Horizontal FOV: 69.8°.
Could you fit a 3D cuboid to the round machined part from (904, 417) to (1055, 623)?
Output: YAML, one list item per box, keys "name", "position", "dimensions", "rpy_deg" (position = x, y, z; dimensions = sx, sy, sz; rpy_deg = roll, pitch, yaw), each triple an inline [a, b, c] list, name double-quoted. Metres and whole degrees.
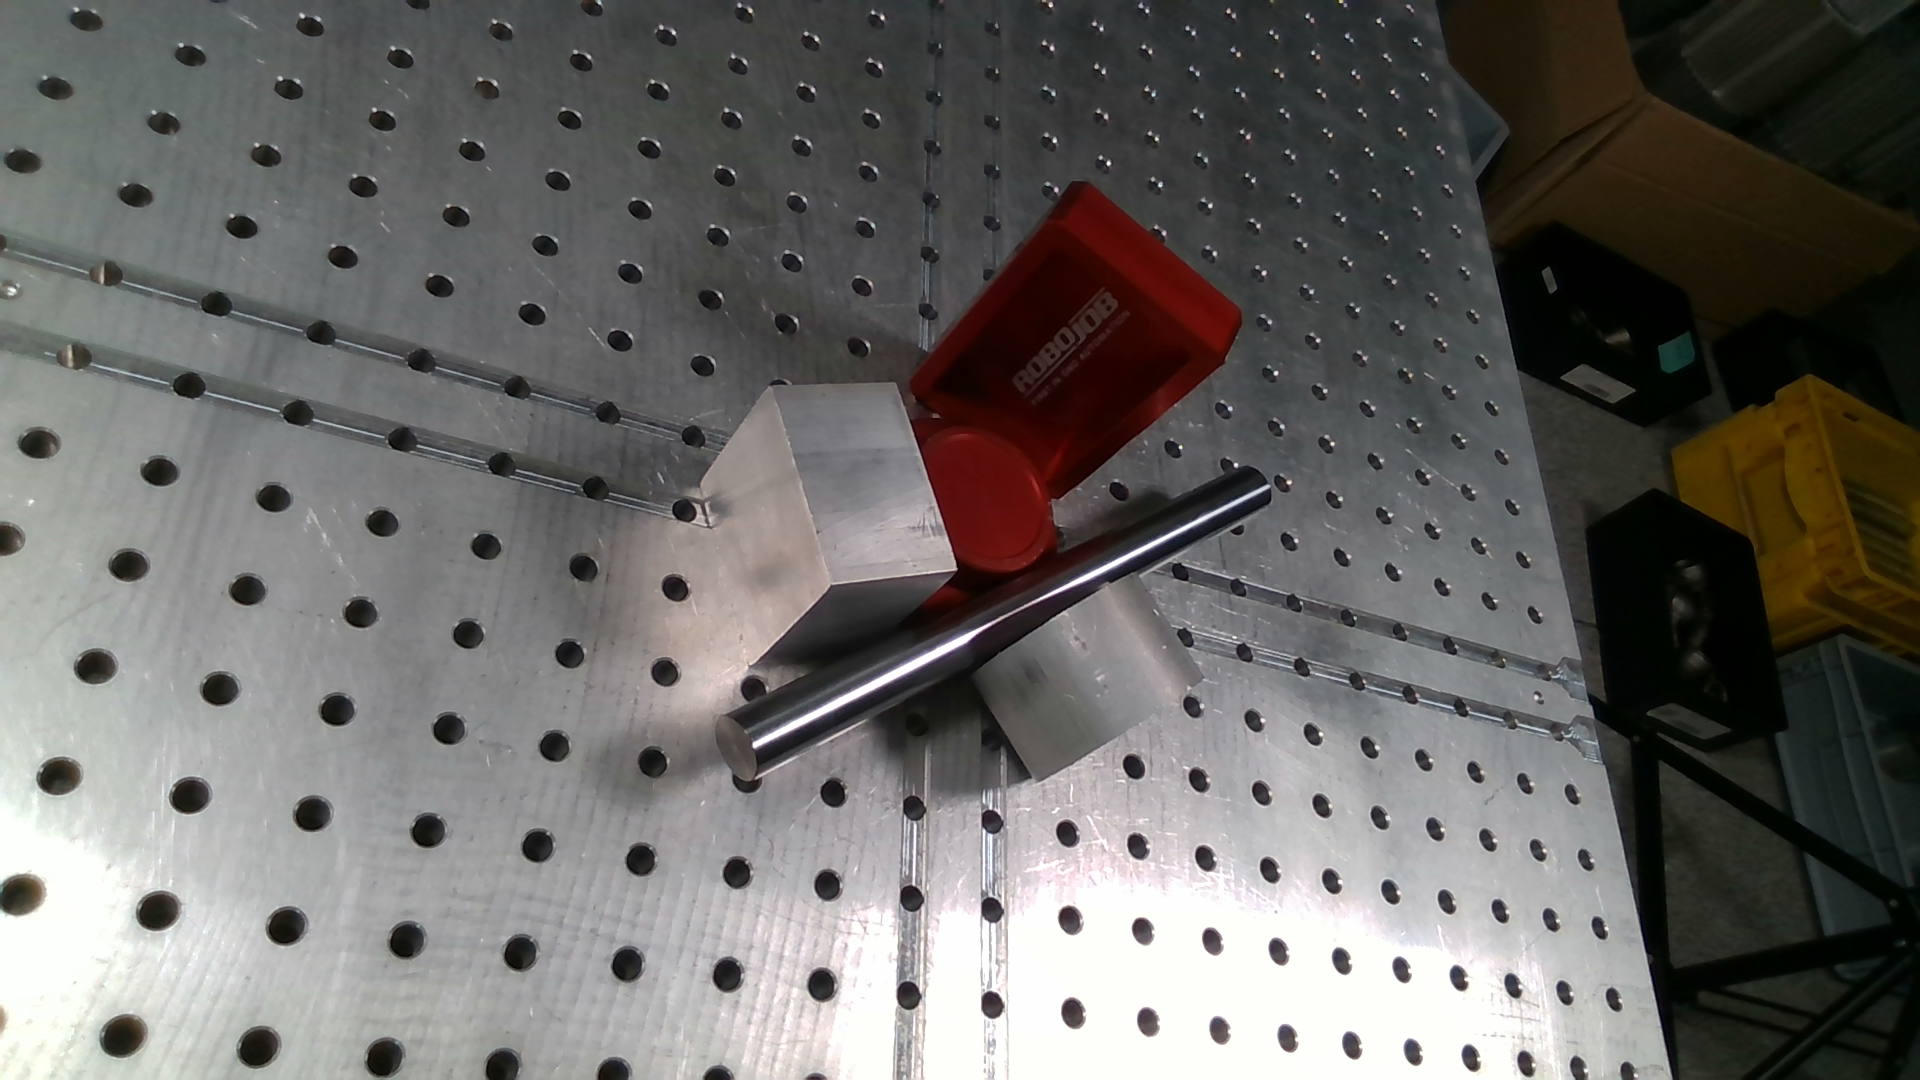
- name: "round machined part"
  position: [-0.001, -0.010, 0.583]
  dimensions: [0.098, 0.042, 0.098]
  rpy_deg: [14, 59, -25]

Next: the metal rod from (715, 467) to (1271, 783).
- name: "metal rod"
  position: [0.031, 0.025, 0.568]
  dimensions: [0.300, 0.025, 0.025]
  rpy_deg: [-24, 79, -38]

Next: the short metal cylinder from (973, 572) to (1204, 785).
- name: "short metal cylinder"
  position: [0.051, 0.055, 0.554]
  dimensions: [0.080, 0.080, 0.050]
  rpy_deg: [-26, 81, -38]

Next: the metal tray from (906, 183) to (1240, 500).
- name: "metal tray"
  position: [0.045, -0.080, 0.593]
  dimensions: [0.090, 0.130, 0.030]
  rpy_deg: [37, 52, -9]

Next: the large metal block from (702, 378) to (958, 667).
- name: "large metal block"
  position: [-0.052, -0.006, 0.525]
  dimensions: [0.050, 0.080, 0.080]
  rpy_deg: [-6, 68, -34]
